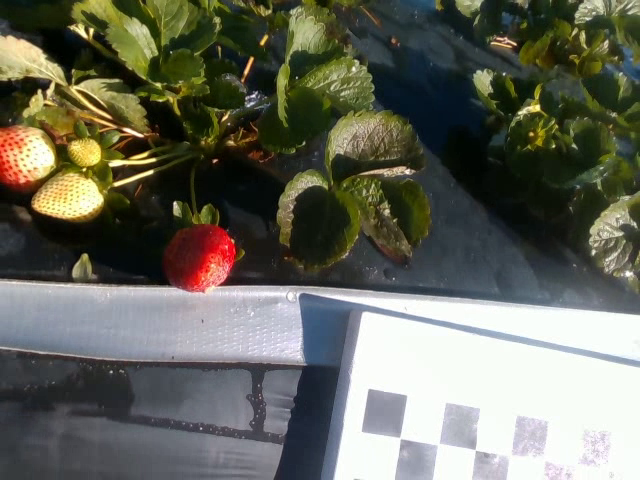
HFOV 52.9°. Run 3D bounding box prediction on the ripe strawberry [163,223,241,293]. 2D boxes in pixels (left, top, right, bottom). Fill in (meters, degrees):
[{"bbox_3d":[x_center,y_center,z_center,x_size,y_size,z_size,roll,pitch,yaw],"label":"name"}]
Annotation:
[{"bbox_3d":[-0.052,0.010,0.269,0.036,0.038,0.045,10,6,-13],"label":"ripe strawberry"}]
